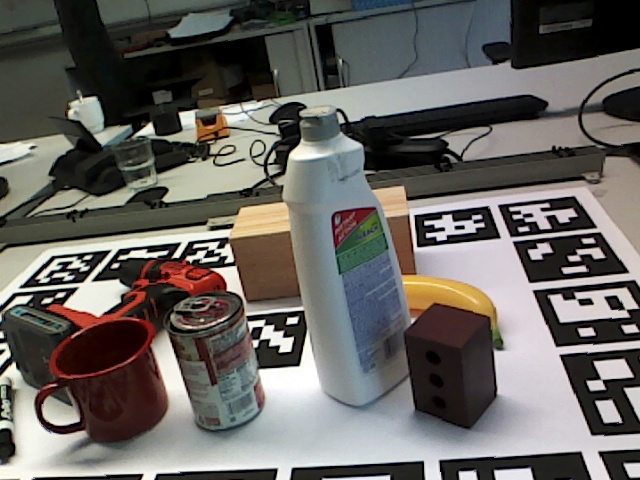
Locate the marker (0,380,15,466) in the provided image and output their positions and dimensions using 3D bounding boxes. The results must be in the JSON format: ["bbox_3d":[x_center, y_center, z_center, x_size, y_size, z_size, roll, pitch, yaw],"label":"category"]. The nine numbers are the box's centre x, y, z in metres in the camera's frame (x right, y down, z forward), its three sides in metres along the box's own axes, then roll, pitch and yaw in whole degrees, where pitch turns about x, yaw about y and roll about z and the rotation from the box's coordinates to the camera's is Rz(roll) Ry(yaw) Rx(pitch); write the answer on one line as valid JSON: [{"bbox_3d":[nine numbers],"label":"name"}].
[{"bbox_3d":[-0.303,0.175,0.595,0.019,0.019,0.122,-21,28,-17],"label":"marker"}]

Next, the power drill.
[{"bbox_3d":[-0.226,0.088,0.711,0.186,0.057,0.186,11,31,33],"label":"power drill"}]

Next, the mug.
[{"bbox_3d":[-0.195,0.130,0.564,0.117,0.081,0.094,-31,34,-31],"label":"mug"}]

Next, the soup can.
[{"bbox_3d":[-0.091,0.103,0.545,0.068,0.102,0.068,-7,21,2],"label":"soup can"}]

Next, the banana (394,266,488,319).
[{"bbox_3d":[0.084,0.058,0.654,0.198,0.038,0.074,3,41,22],"label":"banana"}]

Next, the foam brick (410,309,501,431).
[{"bbox_3d":[0.112,0.105,0.507,0.053,0.078,0.051,9,29,40],"label":"foam brick"}]

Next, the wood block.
[{"bbox_3d":[0.008,0.009,0.738,0.206,0.090,0.090,-7,26,8],"label":"wood block"}]

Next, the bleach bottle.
[{"bbox_3d":[0.024,0.015,0.525,0.068,0.250,0.102,7,29,35],"label":"bleach bottle"}]
